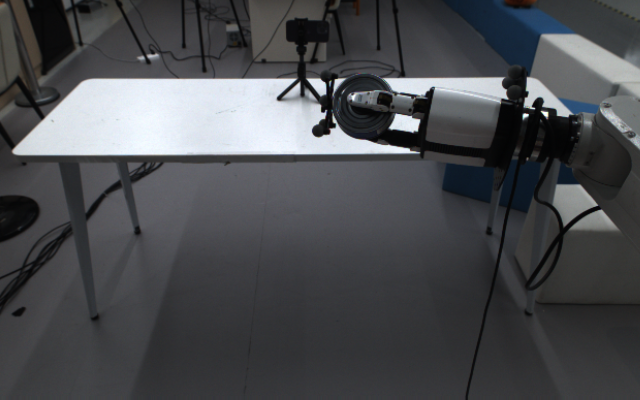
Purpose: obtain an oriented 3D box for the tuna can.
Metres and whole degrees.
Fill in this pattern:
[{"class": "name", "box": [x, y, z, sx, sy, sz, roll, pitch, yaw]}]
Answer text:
[{"class": "tuna can", "box": [0.063, -0.126, 0.660, 0.085, 0.085, 0.034, 9, -6, 10]}]
